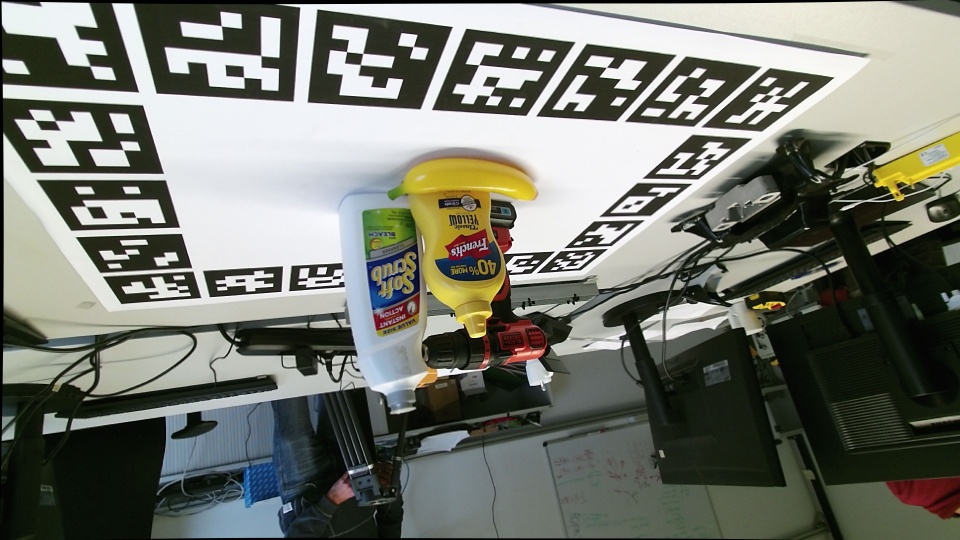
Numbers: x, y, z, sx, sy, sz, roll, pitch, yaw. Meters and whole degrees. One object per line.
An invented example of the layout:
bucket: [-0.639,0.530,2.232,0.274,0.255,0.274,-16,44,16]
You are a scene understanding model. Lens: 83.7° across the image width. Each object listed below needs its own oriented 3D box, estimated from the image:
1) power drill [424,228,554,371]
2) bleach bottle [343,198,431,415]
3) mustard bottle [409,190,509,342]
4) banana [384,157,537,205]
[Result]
power drill: [0.000,0.036,0.681,0.185,0.186,0.057,3,153,-33]
bleach bottle: [-0.097,0.040,0.626,0.103,0.249,0.068,-3,161,-26]
mustard bottle: [-0.018,-0.010,0.613,0.096,0.190,0.058,-3,156,-23]
banana: [-0.009,-0.101,0.628,0.198,0.038,0.074,-4,155,-28]
